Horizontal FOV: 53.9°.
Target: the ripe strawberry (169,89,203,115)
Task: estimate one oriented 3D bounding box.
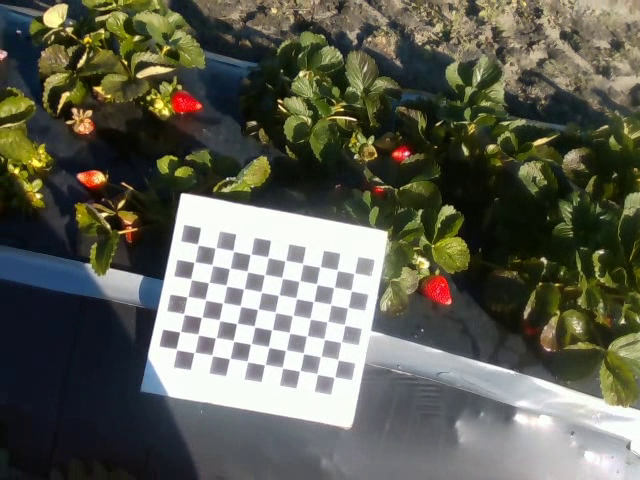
[{"bbox_3d":[-0.235,-0.242,1.095,0.064,0.050,0.052,16,-5,7],"label":"ripe strawberry"}]

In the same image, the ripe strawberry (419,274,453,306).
[{"bbox_3d":[0.176,0.078,0.920,0.048,0.055,0.030,-35,-2,-5],"label":"ripe strawberry"}]
